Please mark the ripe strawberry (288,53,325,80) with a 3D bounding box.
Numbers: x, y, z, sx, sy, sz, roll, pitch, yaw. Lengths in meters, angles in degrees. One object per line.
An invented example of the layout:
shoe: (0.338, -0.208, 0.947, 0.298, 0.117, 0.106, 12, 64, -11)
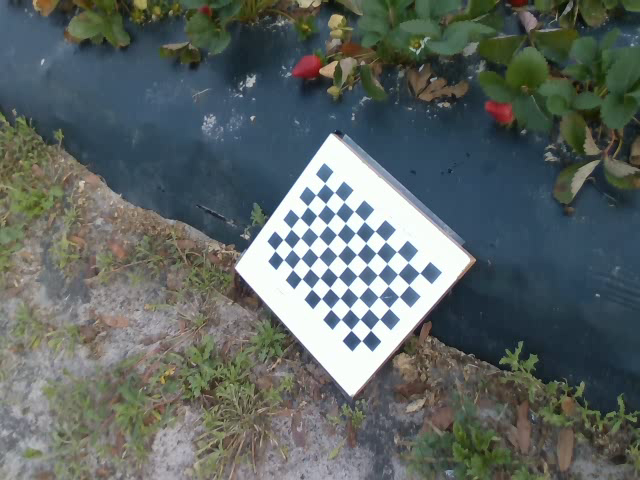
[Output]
ripe strawberry: (-0.024, -0.278, 1.122, 0.050, 0.034, 0.059, 33, 57, 30)
